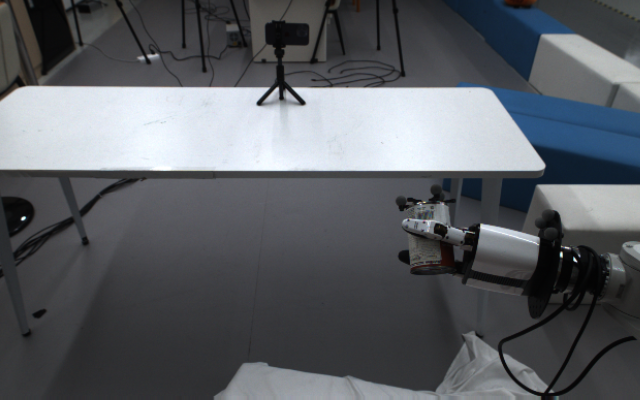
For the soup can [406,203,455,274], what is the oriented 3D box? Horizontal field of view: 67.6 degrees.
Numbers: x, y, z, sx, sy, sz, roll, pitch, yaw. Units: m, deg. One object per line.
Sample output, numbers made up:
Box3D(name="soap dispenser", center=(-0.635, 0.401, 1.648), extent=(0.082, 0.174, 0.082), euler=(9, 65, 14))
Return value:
Box3D(name="soup can", center=(0.169, 0.059, 0.738), extent=(0.067, 0.067, 0.101), euler=(-1, 72, -4))
